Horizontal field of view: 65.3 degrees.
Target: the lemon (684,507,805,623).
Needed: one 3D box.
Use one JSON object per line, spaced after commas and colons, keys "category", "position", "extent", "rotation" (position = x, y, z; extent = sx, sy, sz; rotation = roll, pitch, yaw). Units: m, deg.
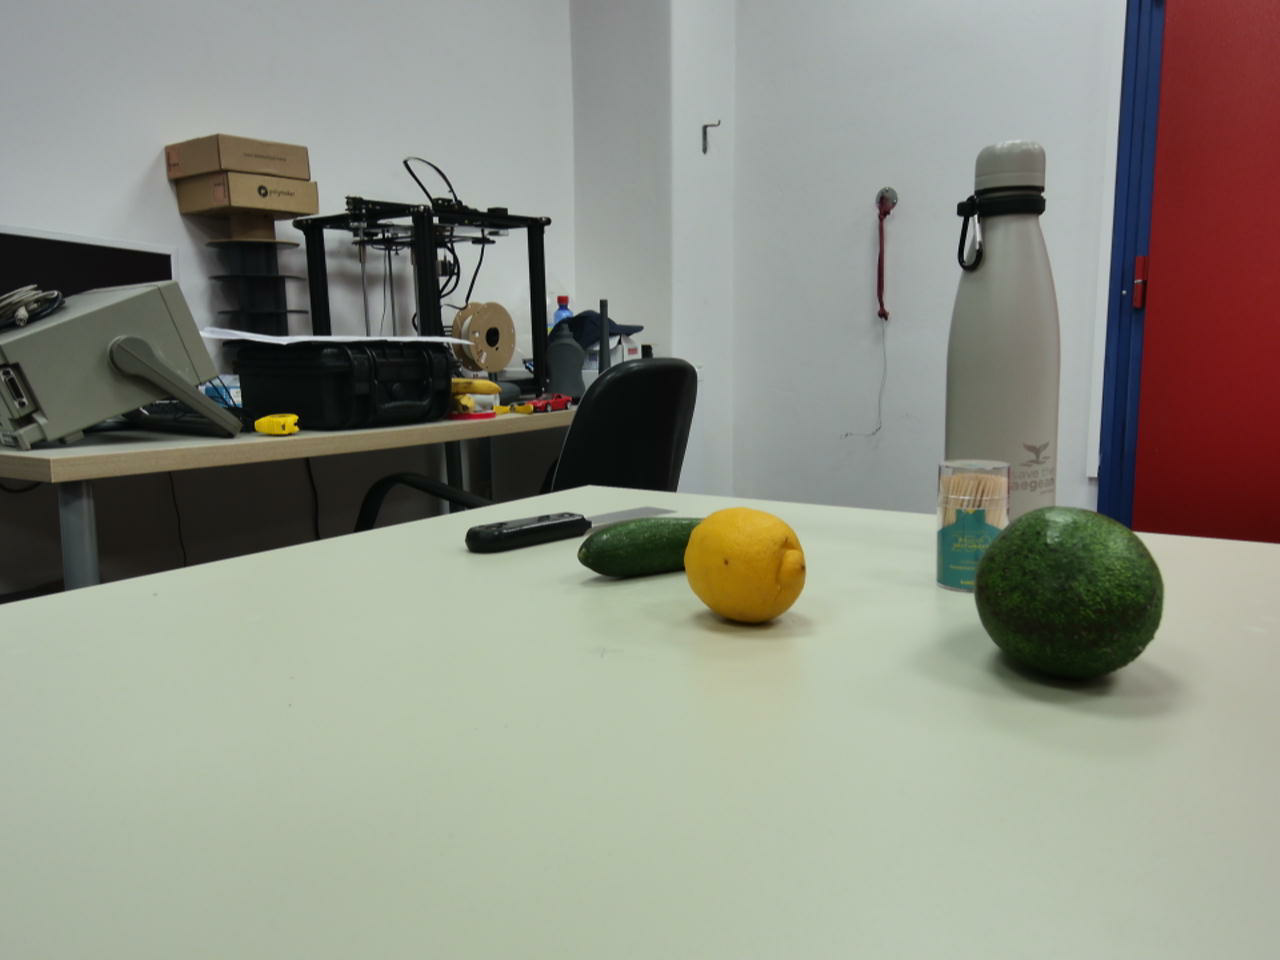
{"category": "lemon", "position": [0.055, 0.045, 0.533], "extent": [0.061, 0.059, 0.067], "rotation": [-1, 6, -12]}
